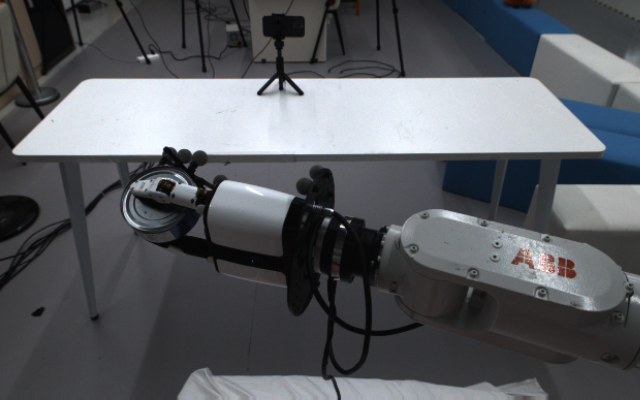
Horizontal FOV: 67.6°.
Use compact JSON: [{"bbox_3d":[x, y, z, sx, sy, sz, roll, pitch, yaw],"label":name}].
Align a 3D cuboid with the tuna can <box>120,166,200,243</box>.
[{"bbox_3d":[-0.179,0.009,0.554,0.085,0.034,0.085,-1,60,2],"label":"tuna can"}]
